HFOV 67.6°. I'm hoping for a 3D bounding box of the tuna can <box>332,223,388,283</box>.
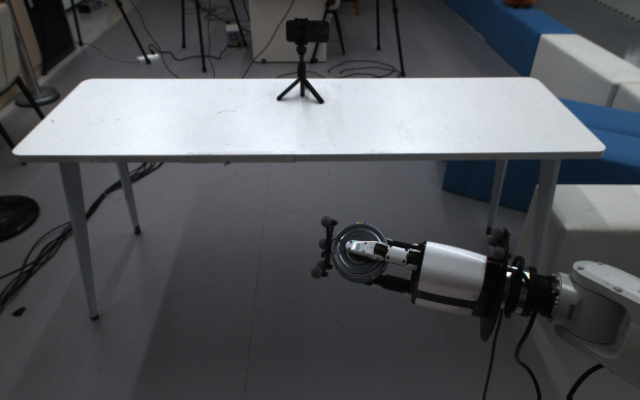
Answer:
[{"bbox_3d":[0.063,0.080,0.711,0.085,0.034,0.085,-2,69,6],"label":"tuna can"}]
